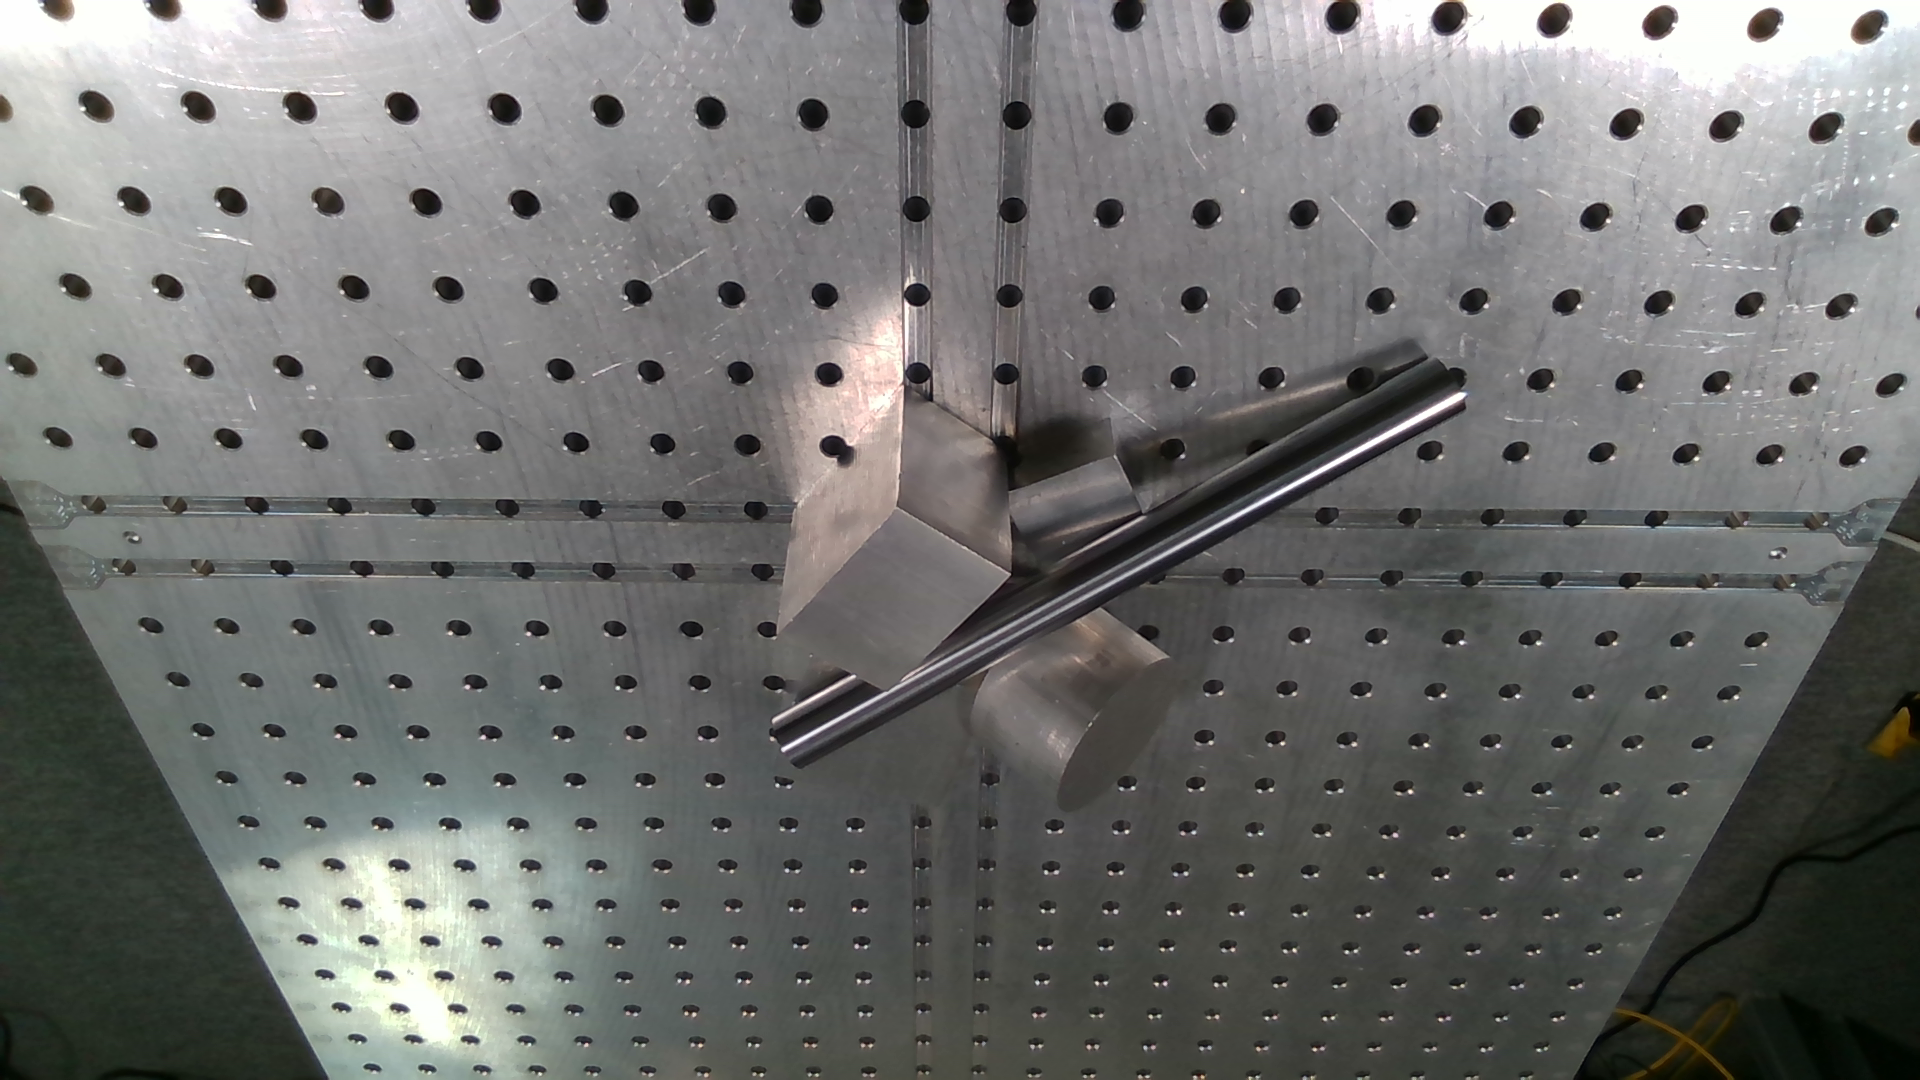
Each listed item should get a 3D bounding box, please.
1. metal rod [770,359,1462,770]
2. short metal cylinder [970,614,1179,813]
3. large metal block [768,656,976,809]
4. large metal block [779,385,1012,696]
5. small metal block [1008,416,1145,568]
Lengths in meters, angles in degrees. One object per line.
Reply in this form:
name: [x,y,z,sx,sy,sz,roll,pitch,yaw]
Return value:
metal rod: [0.057,0.013,0.554,0.300,0.025,0.025,-29,125,8]
short metal cylinder: [0.050,0.071,0.597,0.050,0.080,0.080,36,136,27]
large metal block: [-0.036,0.070,0.624,0.080,0.050,0.080,13,129,-11]
large metal block: [-0.025,0.000,0.546,0.050,0.080,0.080,30,124,-23]
small metal block: [0.049,-0.017,0.569,0.050,0.025,0.050,-19,127,15]
